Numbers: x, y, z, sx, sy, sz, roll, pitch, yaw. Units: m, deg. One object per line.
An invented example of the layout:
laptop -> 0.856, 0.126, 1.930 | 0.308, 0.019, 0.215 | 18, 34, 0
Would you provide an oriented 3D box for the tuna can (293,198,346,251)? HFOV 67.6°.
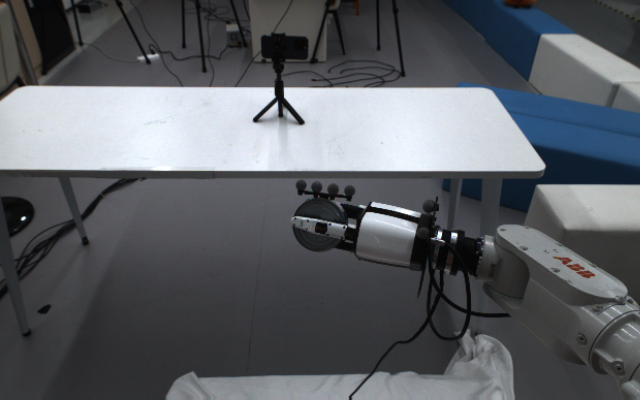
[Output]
tuna can -> 0.001, 0.037, 0.770 | 0.085, 0.085, 0.034 | 11, 2, 13
